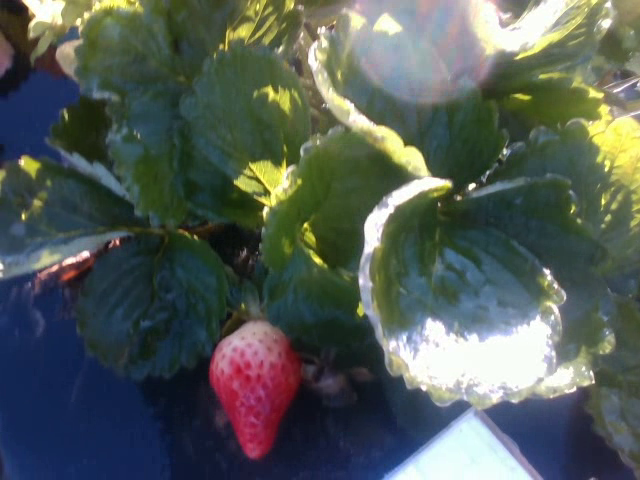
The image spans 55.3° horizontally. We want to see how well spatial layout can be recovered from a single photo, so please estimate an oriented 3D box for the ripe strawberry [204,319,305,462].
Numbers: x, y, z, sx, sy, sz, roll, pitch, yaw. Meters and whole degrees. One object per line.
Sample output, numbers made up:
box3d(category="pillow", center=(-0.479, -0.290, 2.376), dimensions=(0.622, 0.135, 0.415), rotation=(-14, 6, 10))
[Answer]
box3d(category="ripe strawberry", center=(-0.034, 0.068, 0.256), dimensions=(0.040, 0.065, 0.040), rotation=(-3, -8, 15))
